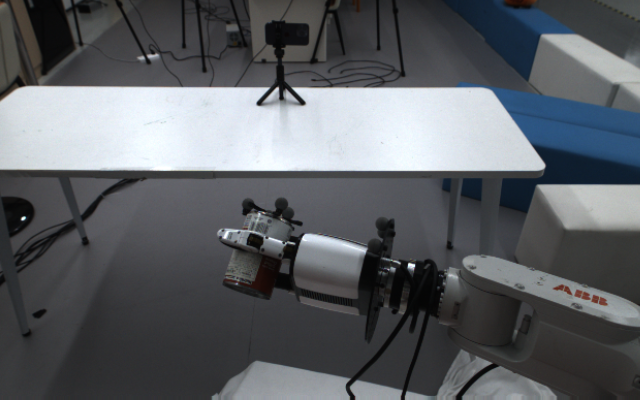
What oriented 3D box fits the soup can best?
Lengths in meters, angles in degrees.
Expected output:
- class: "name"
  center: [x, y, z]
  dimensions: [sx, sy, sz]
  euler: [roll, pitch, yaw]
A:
- class: "soup can"
  center: [-0.080, 0.074, 0.642]
  dimensions: [0.067, 0.067, 0.101]
  euler: [12, 70, 14]
